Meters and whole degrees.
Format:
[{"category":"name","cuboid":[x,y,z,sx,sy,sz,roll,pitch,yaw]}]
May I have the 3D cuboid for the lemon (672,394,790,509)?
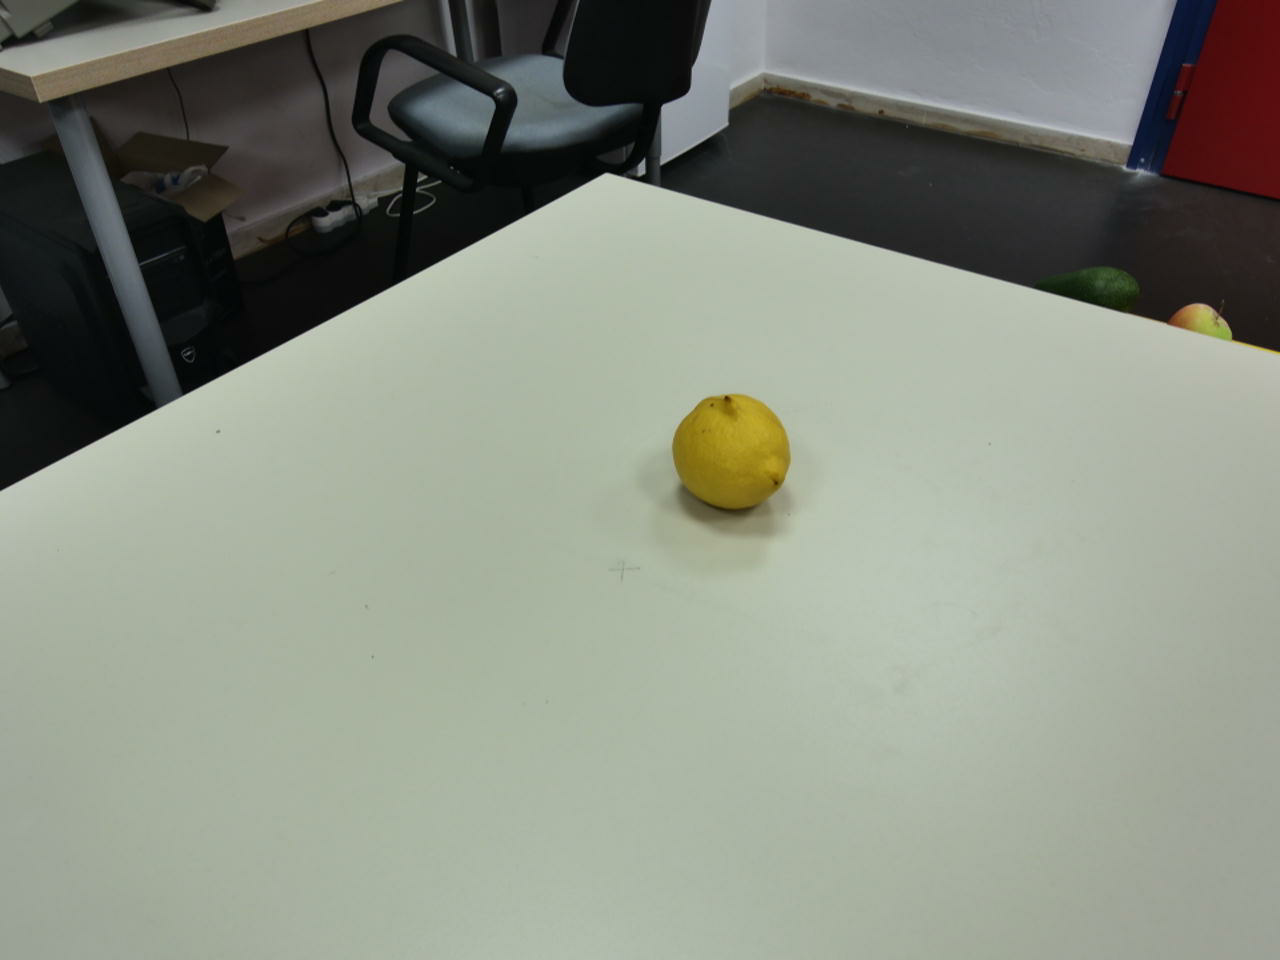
[{"category":"lemon","cuboid":[0.055,-0.020,0.598,0.070,0.071,0.071,2,38,3]}]
